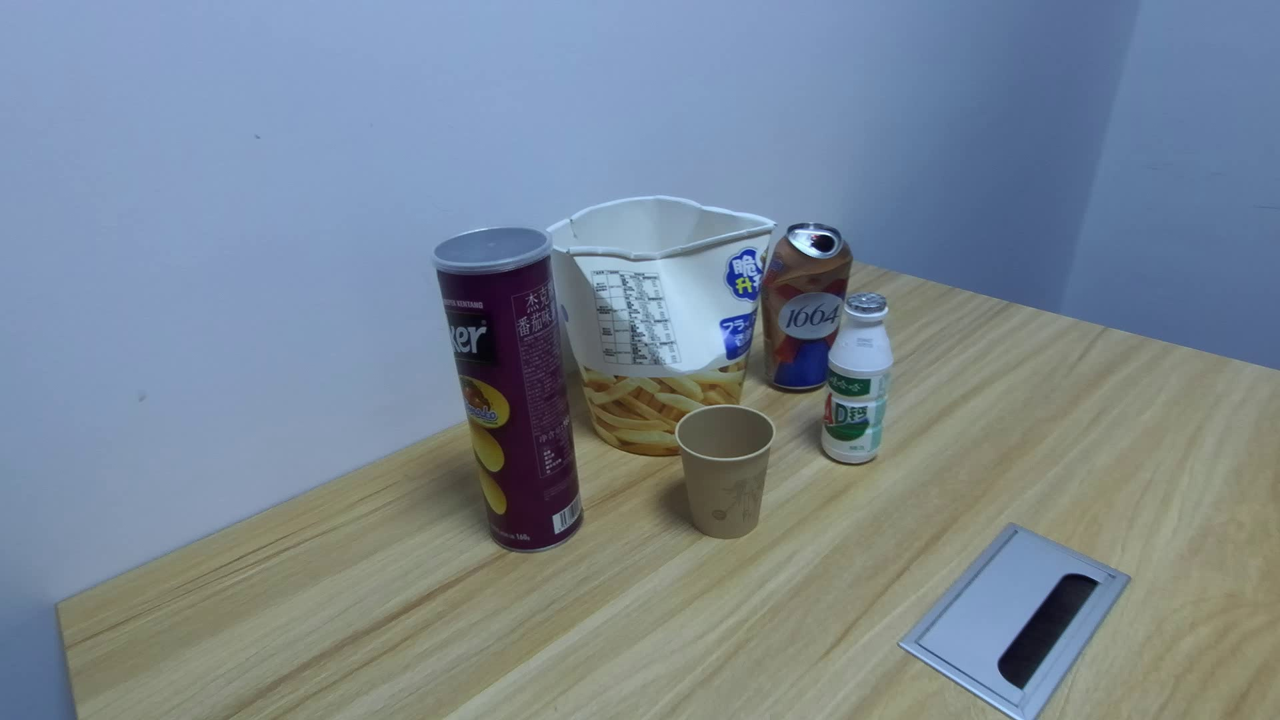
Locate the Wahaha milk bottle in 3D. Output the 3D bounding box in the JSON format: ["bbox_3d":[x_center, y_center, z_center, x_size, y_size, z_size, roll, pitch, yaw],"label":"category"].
[{"bbox_3d":[0.183,0.016,0.596,0.053,0.147,0.053,-2,28,1],"label":"Wahaha milk bottle"}]

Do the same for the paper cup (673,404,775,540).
[{"bbox_3d":[0.065,0.089,0.543,0.075,0.082,0.075,-2,27,2],"label":"paper cup"}]

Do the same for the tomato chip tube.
[{"bbox_3d":[-0.089,0.028,0.519,0.078,0.234,0.078,-3,28,2],"label":"tomato chip tube"}]

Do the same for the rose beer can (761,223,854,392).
[{"bbox_3d":[0.163,-0.050,0.702,0.069,0.168,0.069,15,35,26],"label":"rose beer can"}]

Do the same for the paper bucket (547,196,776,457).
[{"bbox_3d":[0.011,-0.028,0.650,0.163,0.202,0.168,-26,32,-34],"label":"paper bucket"}]
